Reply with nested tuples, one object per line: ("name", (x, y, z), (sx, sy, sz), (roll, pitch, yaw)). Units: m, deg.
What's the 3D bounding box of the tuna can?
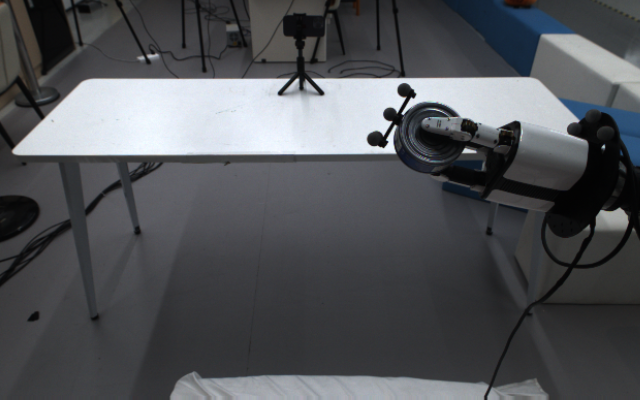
("tuna can", (0.139, -0.081, 0.606), (0.085, 0.034, 0.085), (1, 75, -5))
